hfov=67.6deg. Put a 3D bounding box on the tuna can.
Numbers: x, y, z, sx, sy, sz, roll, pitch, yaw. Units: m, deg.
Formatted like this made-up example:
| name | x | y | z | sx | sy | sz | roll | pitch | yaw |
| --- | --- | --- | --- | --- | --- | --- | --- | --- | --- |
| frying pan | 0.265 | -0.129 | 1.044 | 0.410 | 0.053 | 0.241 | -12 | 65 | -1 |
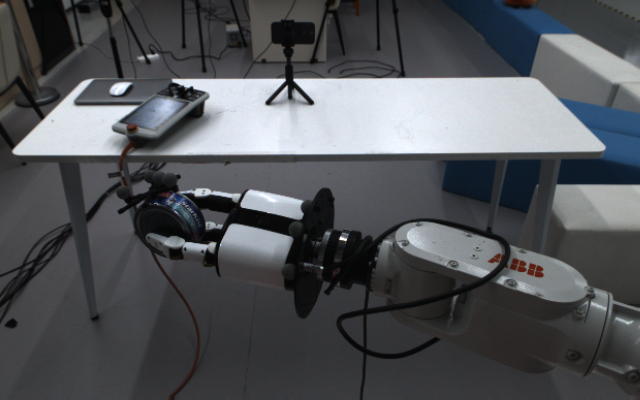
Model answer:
| name | x | y | z | sx | sy | sz | roll | pitch | yaw |
| --- | --- | --- | --- | --- | --- | --- | --- | --- | --- |
| tuna can | -0.189 | 0.038 | 0.616 | 0.085 | 0.085 | 0.034 | 11 | 34 | 13 |
